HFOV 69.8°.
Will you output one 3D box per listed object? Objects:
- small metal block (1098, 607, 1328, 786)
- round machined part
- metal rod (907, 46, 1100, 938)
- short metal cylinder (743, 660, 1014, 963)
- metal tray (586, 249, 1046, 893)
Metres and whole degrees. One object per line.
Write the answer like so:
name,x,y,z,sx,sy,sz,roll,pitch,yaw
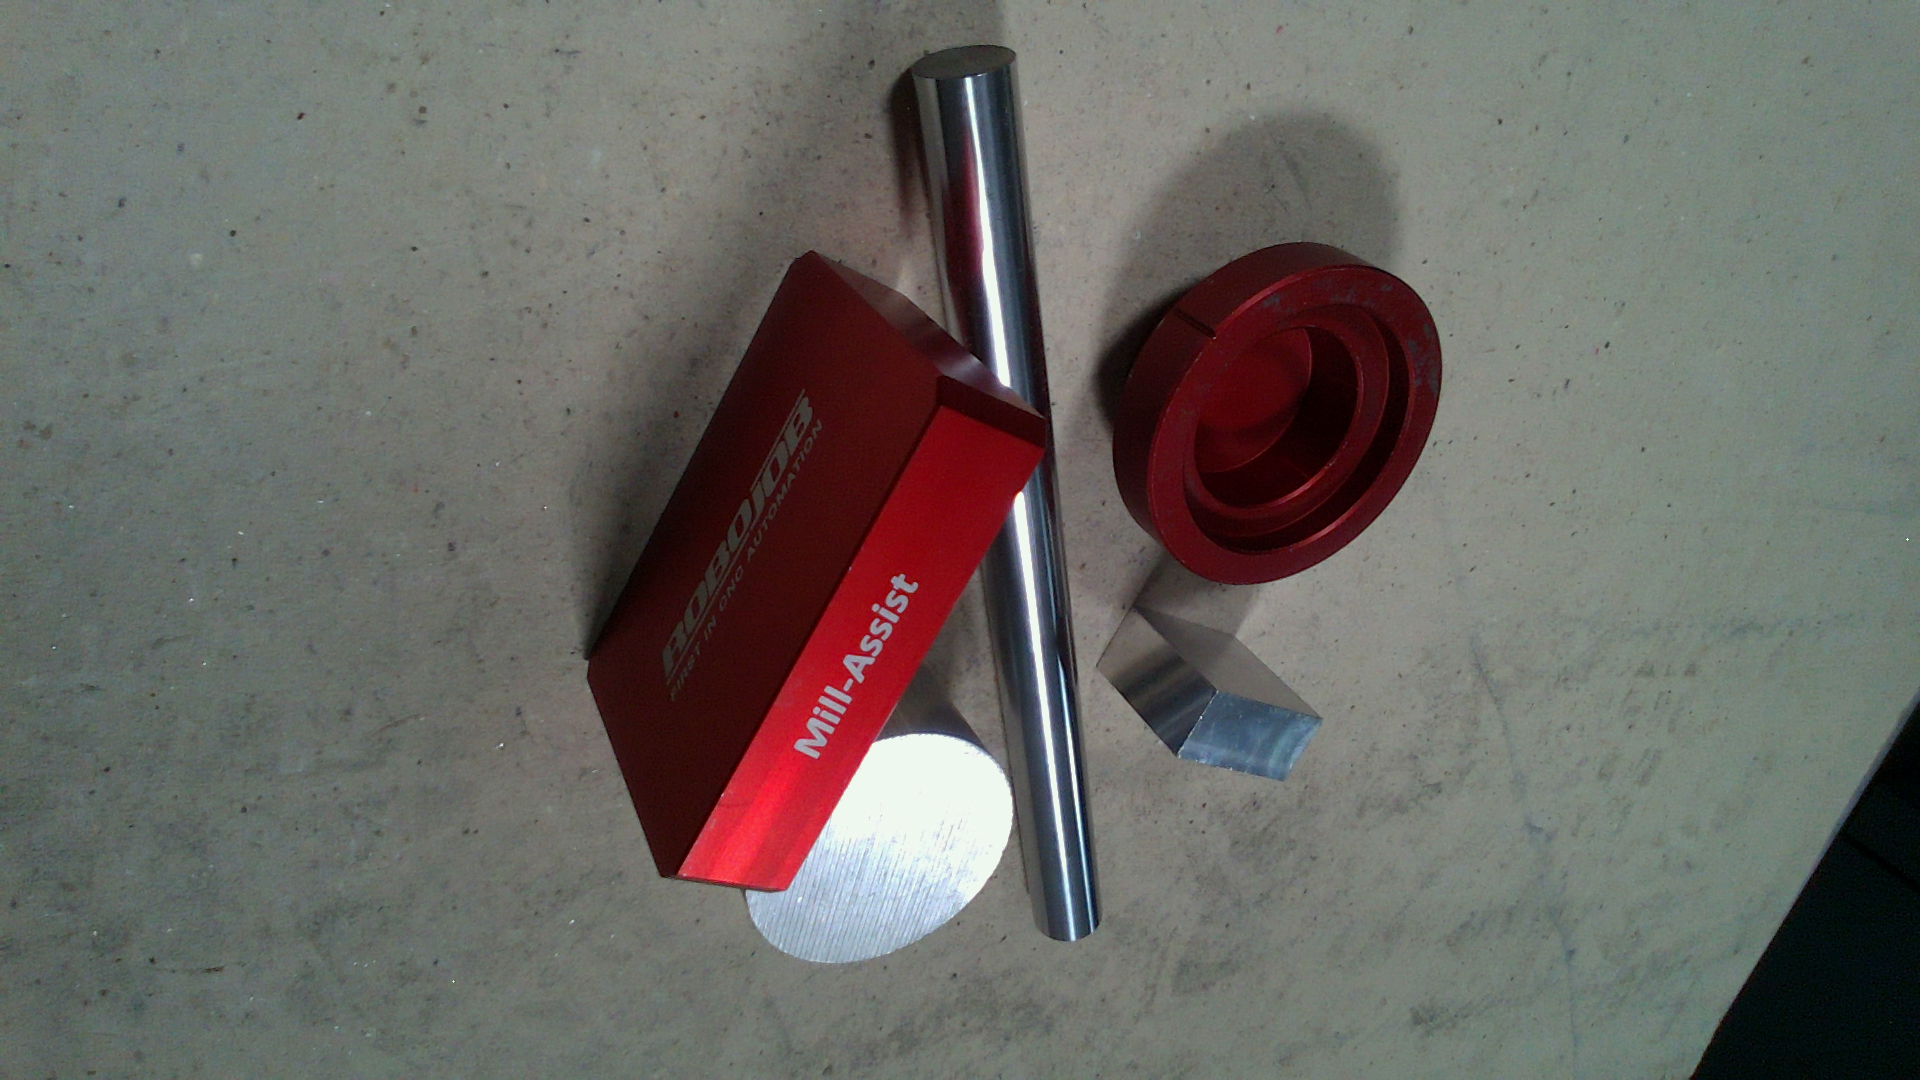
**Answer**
small metal block,0.081,0.050,0.444,0.050,0.050,0.025,18,109,-35
round machined part,0.087,-0.040,0.401,0.098,0.042,0.098,-14,124,-21
metal rod,0.019,0.010,0.407,0.025,0.025,0.300,-20,126,-16
short metal cylinder,-0.031,0.075,0.402,0.080,0.050,0.080,-14,124,-21
metal tray,-0.041,0.006,0.329,0.030,0.090,0.130,20,108,-35
